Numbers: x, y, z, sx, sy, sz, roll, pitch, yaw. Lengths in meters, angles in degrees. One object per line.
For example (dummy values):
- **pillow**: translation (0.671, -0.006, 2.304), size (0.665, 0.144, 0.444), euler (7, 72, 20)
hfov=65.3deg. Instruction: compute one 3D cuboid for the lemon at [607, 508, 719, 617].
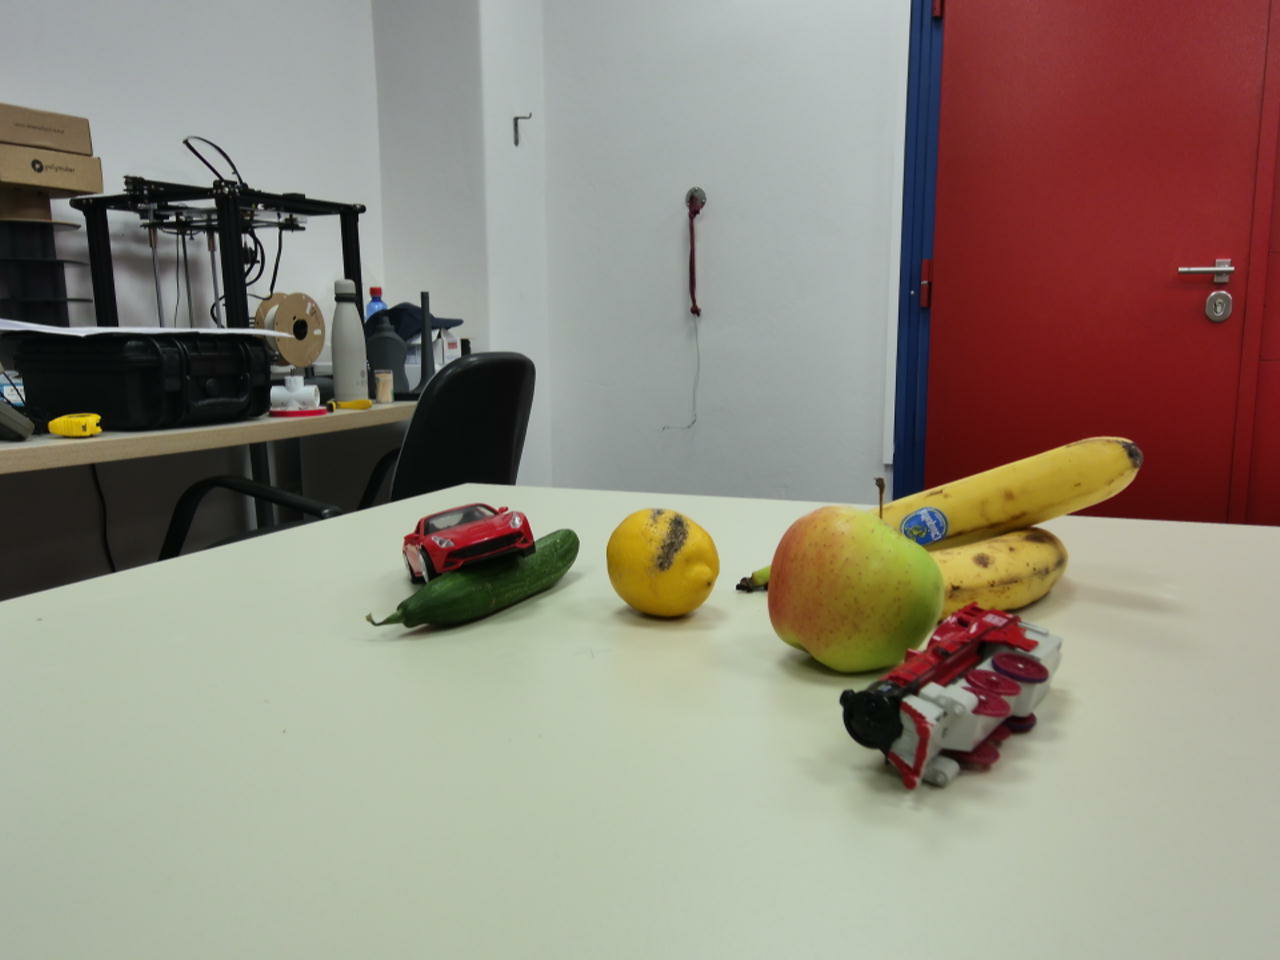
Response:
- **lemon**: translation (0.012, 0.044, 0.533), size (0.061, 0.056, 0.058), euler (2, 6, 16)
